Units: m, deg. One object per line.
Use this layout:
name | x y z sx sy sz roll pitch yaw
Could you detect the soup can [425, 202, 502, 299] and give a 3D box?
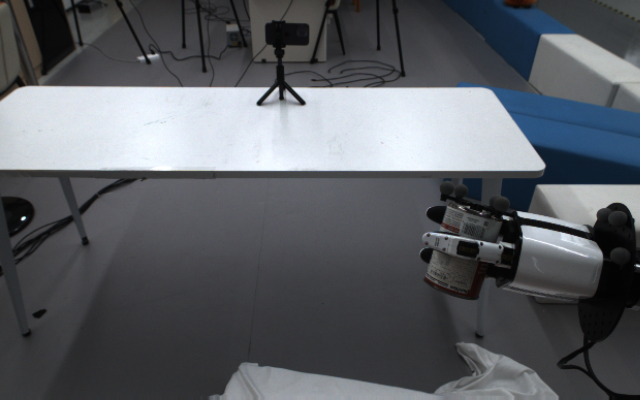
soup can | 0.174 0.059 0.584 0.067 0.101 0.067 15 7 -2
